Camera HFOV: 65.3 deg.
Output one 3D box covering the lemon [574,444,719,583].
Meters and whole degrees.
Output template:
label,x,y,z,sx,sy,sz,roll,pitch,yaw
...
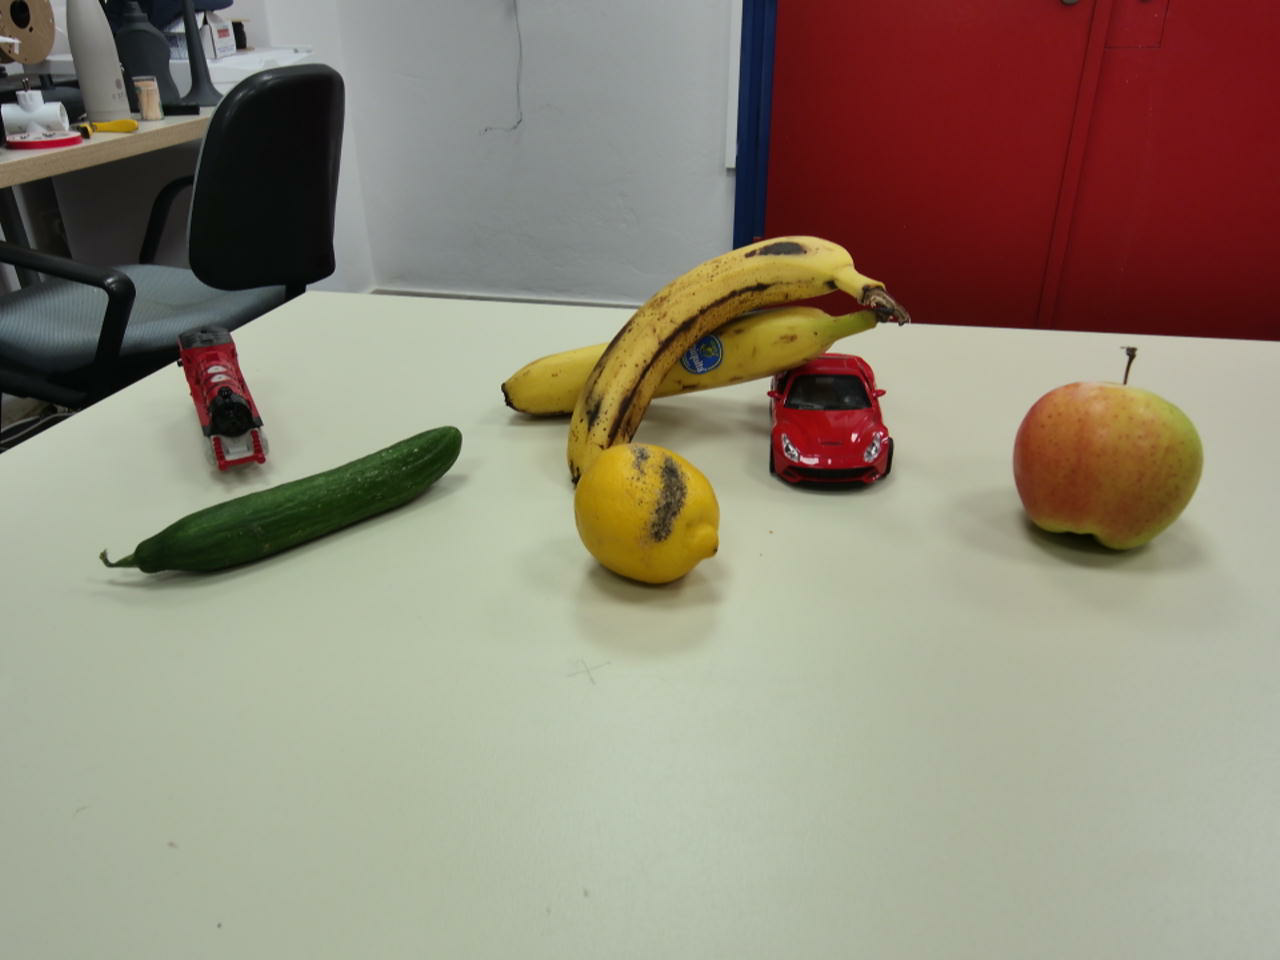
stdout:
label,x,y,z,sx,sy,sz,roll,pitch,yaw
lemon,0.003,0.013,0.419,0.061,0.056,0.058,2,24,5
